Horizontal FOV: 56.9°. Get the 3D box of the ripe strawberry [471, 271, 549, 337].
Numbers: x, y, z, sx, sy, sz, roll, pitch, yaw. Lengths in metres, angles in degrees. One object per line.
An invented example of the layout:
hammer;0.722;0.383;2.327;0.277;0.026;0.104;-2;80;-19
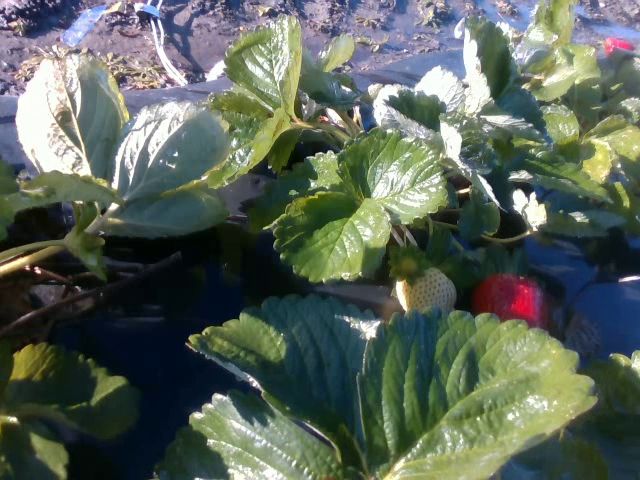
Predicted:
ripe strawberry;0.134;0.044;0.379;0.040;0.063;0.080;-41;20;16
